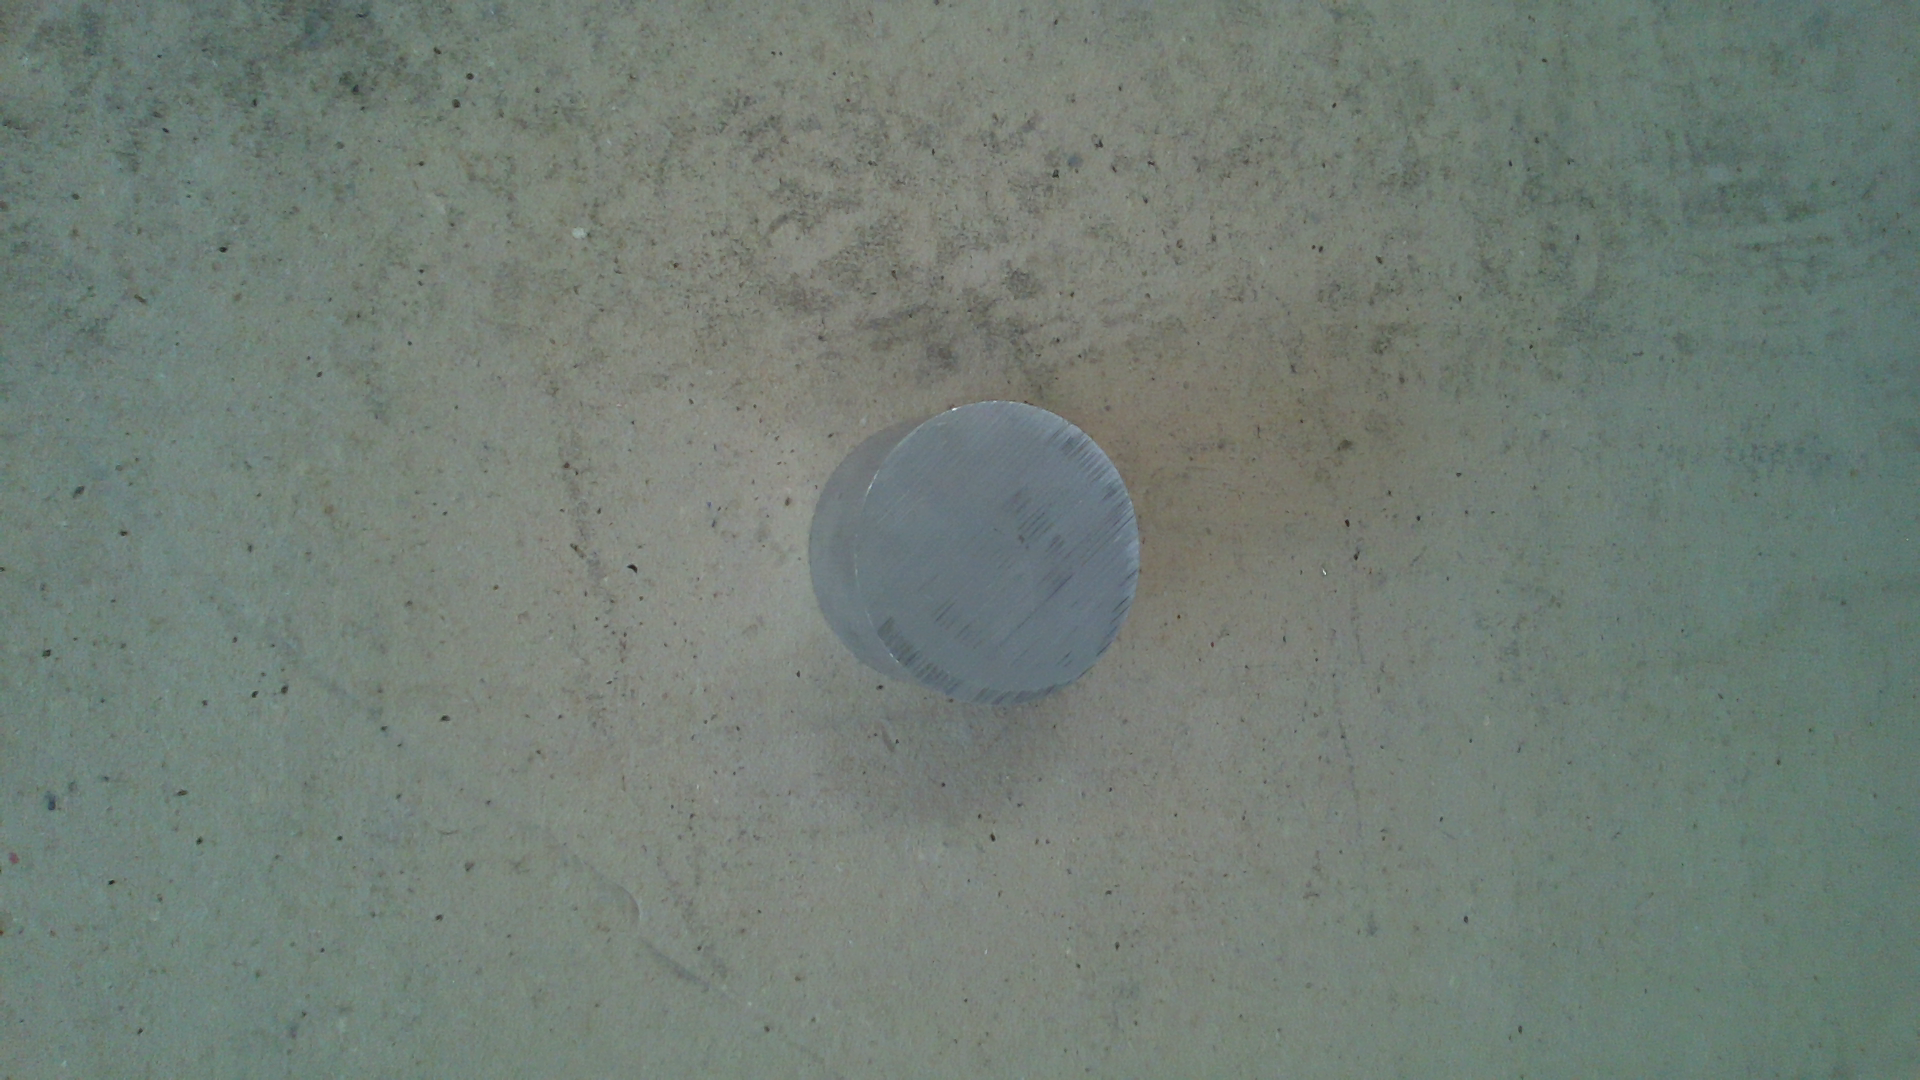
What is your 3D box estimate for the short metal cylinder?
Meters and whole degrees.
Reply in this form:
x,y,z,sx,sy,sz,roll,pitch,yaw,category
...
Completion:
x,y,z,sx,sy,sz,roll,pitch,yaw,category
0.002,0.003,0.381,0.080,0.050,0.080,0,90,-21,short metal cylinder
